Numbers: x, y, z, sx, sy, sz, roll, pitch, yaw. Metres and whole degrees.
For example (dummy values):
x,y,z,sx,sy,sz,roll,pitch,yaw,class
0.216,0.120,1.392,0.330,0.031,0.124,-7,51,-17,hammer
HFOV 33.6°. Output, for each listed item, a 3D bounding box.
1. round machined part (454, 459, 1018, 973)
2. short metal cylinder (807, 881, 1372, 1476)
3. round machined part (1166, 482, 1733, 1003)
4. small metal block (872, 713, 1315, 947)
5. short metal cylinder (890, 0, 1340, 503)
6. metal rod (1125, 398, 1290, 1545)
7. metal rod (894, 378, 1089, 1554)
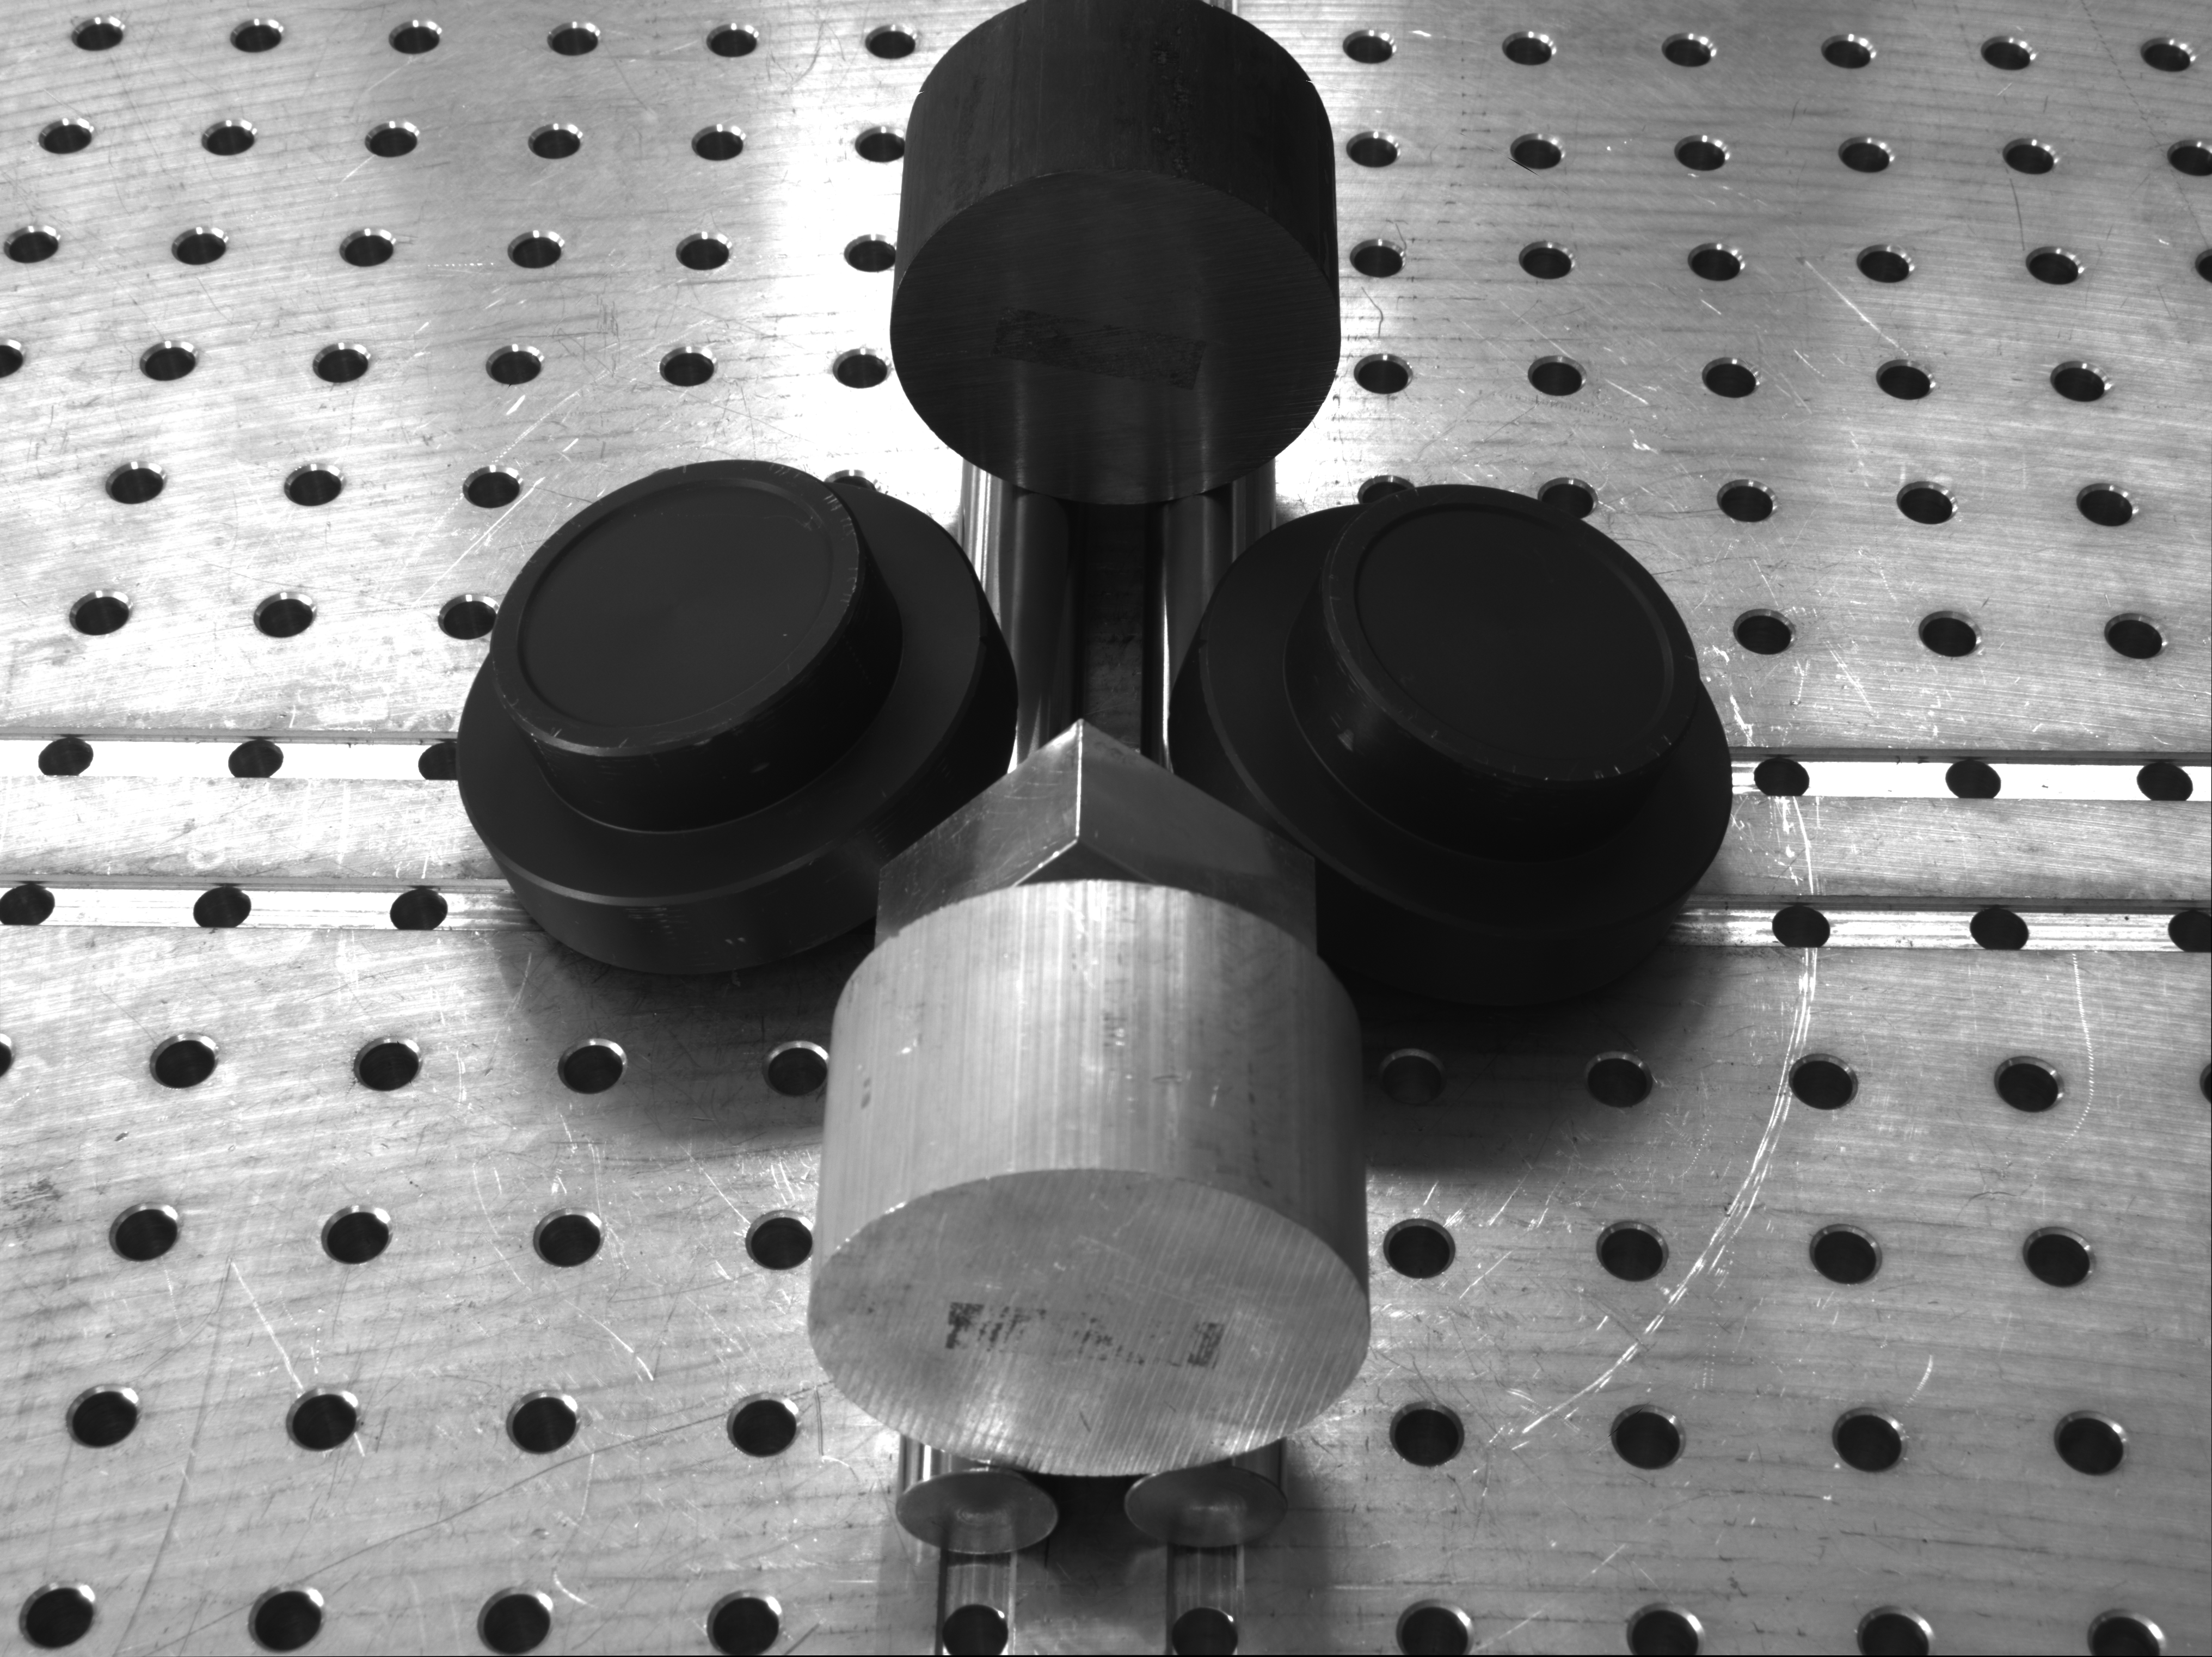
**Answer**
x,y,z,sx,sy,sz,roll,pitch,yaw,class
-0.068,-0.026,0.639,0.098,0.042,0.098,-9,49,11,round machined part
-0.002,0.052,0.537,0.080,0.080,0.050,1,50,1,short metal cylinder
0.063,-0.021,0.634,0.098,0.042,0.098,10,49,-11,round machined part
-0.002,0.015,0.586,0.050,0.050,0.025,31,42,-29,small metal block
0.002,-0.106,0.669,0.080,0.080,0.050,1,50,1,short metal cylinder
0.018,-0.012,0.654,0.025,0.025,0.300,1,50,1,metal rod
-0.017,-0.011,0.653,0.025,0.025,0.300,1,50,1,metal rod
